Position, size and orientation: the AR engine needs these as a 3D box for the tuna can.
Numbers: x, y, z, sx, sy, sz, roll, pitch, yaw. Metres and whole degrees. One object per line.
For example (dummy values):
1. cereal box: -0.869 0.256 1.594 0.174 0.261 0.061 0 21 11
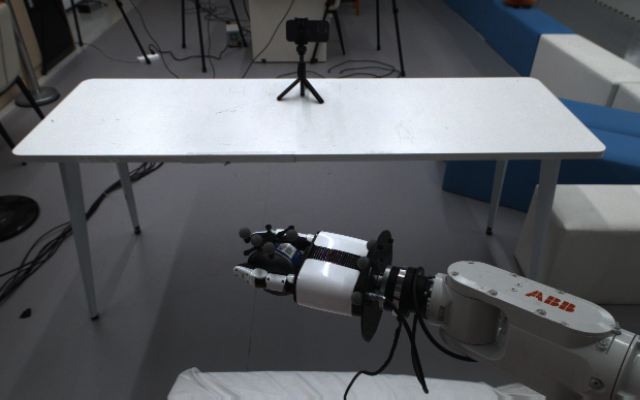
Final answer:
1. tuna can: -0.062 0.102 0.729 0.085 0.085 0.034 14 33 17
